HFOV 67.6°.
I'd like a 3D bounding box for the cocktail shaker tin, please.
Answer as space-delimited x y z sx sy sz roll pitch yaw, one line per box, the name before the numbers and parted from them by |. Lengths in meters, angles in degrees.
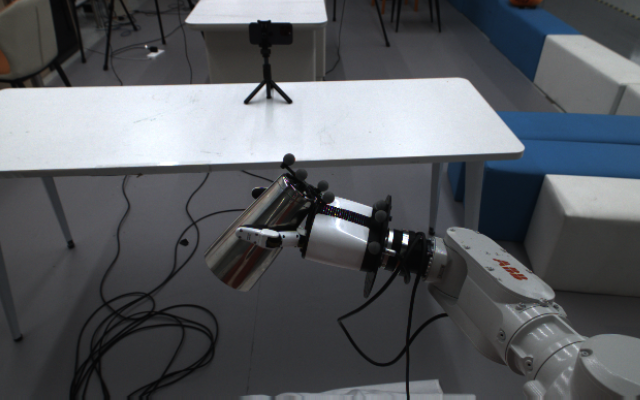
cocktail shaker tin | -0.084 0.040 0.725 0.093 0.170 0.093 41 13 -11
